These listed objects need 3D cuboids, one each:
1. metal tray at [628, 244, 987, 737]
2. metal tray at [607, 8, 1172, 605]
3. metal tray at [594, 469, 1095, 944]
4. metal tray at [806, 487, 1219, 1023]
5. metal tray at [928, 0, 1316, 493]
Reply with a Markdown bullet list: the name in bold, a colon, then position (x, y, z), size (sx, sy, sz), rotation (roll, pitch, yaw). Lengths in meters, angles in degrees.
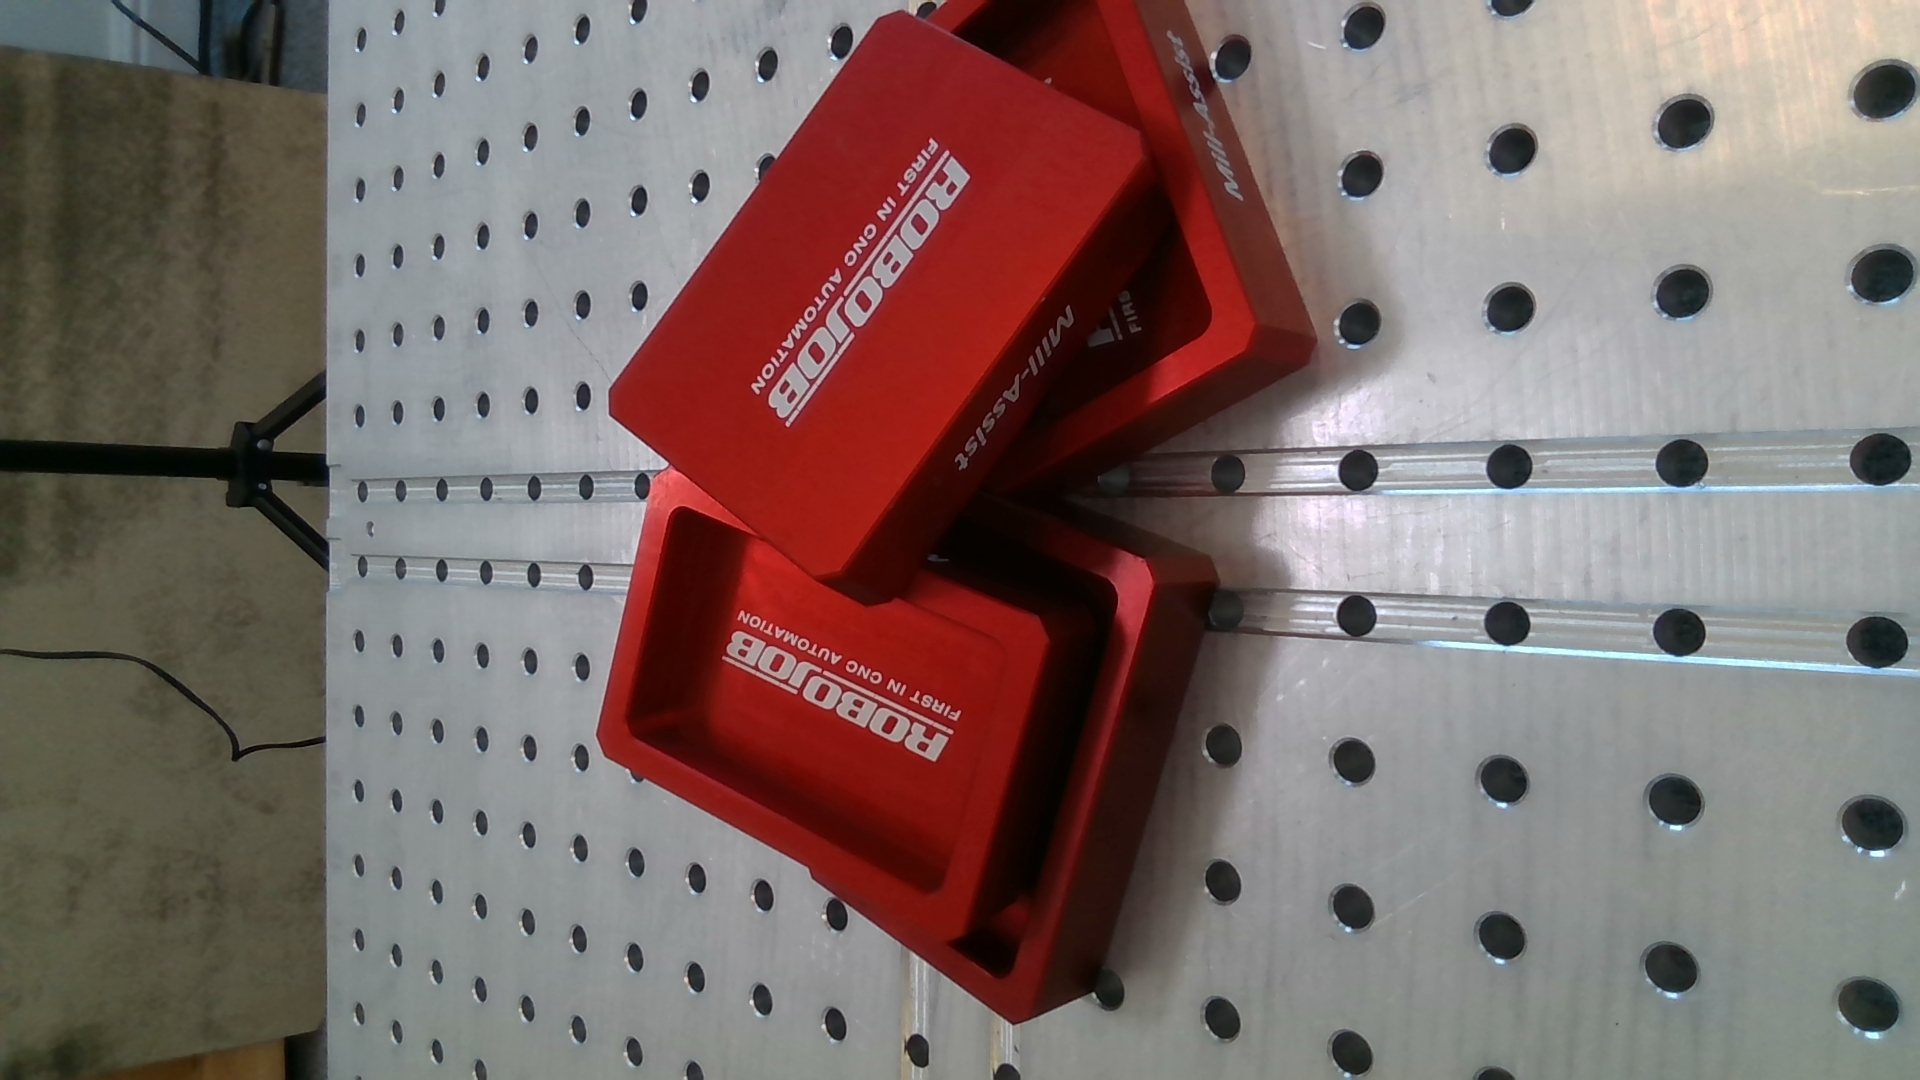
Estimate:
- **metal tray**: position (-0.052, -0.016, 0.434), size (0.090, 0.030, 0.130), rotation (33, 111, 35)
- **metal tray**: position (-0.020, -0.061, 0.353), size (0.090, 0.030, 0.130), rotation (36, 91, 26)
- **metal tray**: position (-0.037, 0.040, 0.381), size (0.130, 0.030, 0.090), rotation (22, 104, 26)
- **metal tray**: position (0.009, 0.052, 0.381), size (0.090, 0.030, 0.130), rotation (24, 105, 37)
- **metal tray**: position (0.028, -0.088, 0.365), size (0.090, 0.030, 0.130), rotation (-28, 72, 36)
